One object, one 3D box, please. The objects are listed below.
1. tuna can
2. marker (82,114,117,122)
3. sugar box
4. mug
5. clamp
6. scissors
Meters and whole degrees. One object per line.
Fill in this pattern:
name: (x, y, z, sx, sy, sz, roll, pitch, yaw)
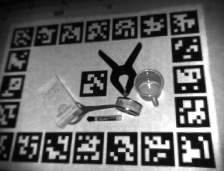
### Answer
tuna can: (0.049, 0.063, 0.703, 0.085, 0.086, 0.034, 14, 75, 17)
marker: (-0.044, 0.111, 0.742, 0.120, 0.020, 0.019, -6, 71, 10)
sugar box: (-0.196, 0.051, 0.773, 0.093, 0.046, 0.174, -37, 63, -2)
mug: (0.109, 0.011, 0.713, 0.093, 0.082, 0.116, -28, 65, 2)
clamp: (0.029, -0.062, 0.785, 0.165, 0.037, 0.202, -12, 71, 7)
scissors: (-0.088, 0.073, 0.761, 0.202, 0.016, 0.087, -13, 66, 6)
